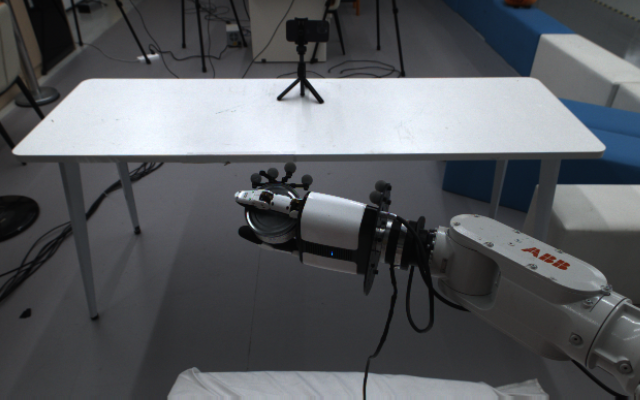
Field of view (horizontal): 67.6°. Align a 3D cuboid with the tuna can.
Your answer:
[{"bbox_3d":[-0.065,0.021,0.711,0.085,0.034,0.085,-3,61,6],"label":"tuna can"}]
